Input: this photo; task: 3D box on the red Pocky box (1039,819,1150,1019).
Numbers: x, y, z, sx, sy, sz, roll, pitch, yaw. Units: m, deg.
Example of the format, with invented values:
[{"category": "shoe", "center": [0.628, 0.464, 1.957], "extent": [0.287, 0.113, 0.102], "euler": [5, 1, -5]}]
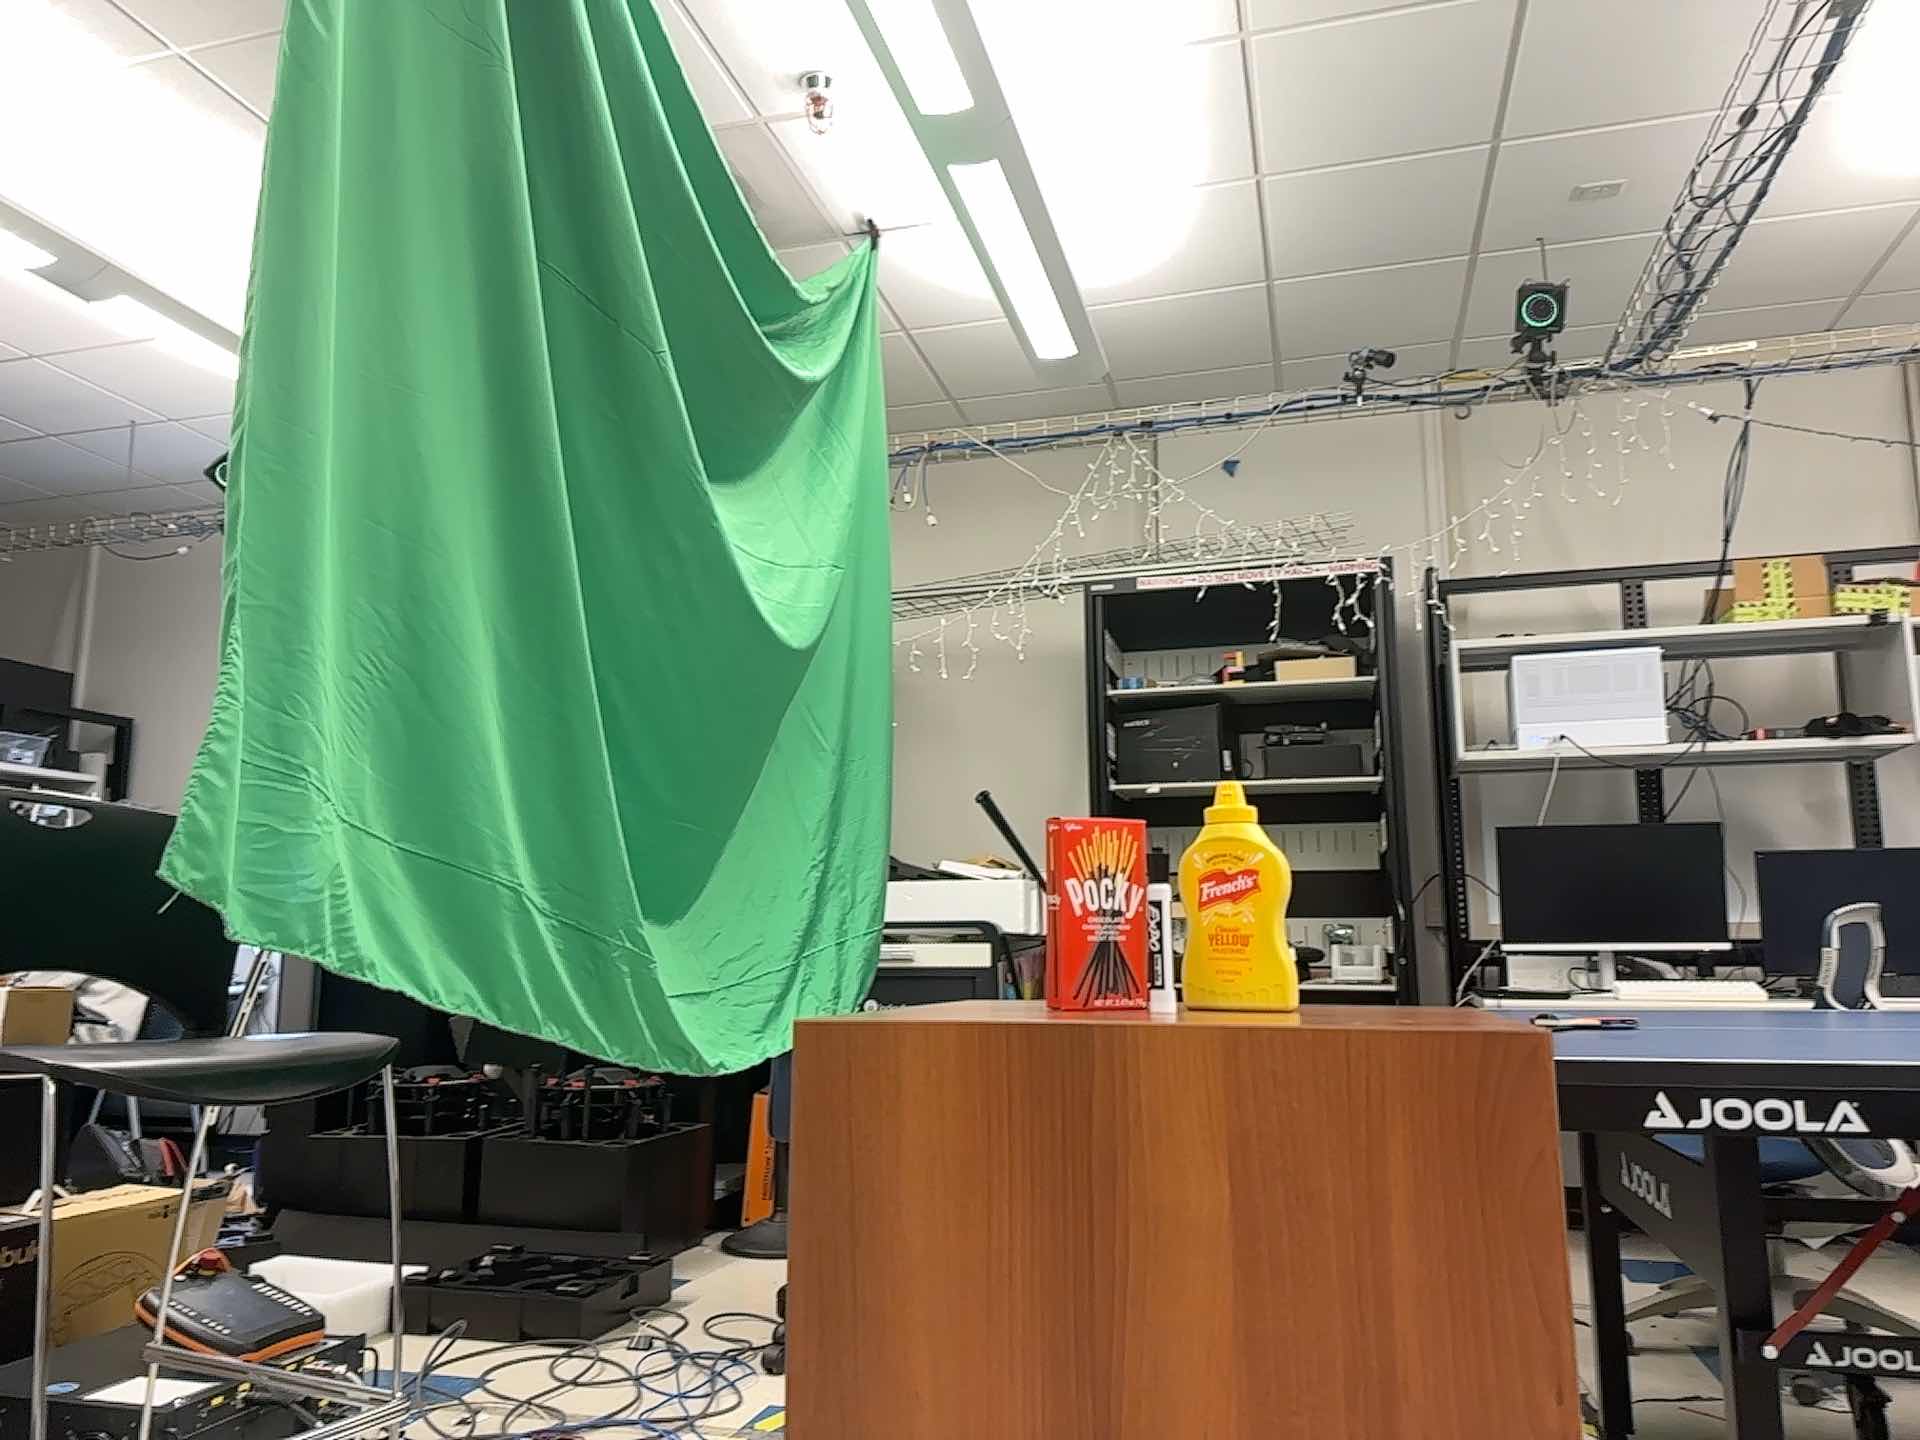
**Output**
[{"category": "red Pocky box", "center": [0.106, 0.155, 1.060], "extent": [0.083, 0.155, 0.028], "euler": [1, -8, -21]}]

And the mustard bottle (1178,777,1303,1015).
[{"category": "mustard bottle", "center": [0.217, 0.136, 1.060], "extent": [0.092, 0.184, 0.054], "euler": [-7, -10, 34]}]

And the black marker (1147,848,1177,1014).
[{"category": "black marker", "center": [0.149, 0.155, 0.994], "extent": [0.020, 0.121, 0.020], "euler": [1, -12, 0]}]
